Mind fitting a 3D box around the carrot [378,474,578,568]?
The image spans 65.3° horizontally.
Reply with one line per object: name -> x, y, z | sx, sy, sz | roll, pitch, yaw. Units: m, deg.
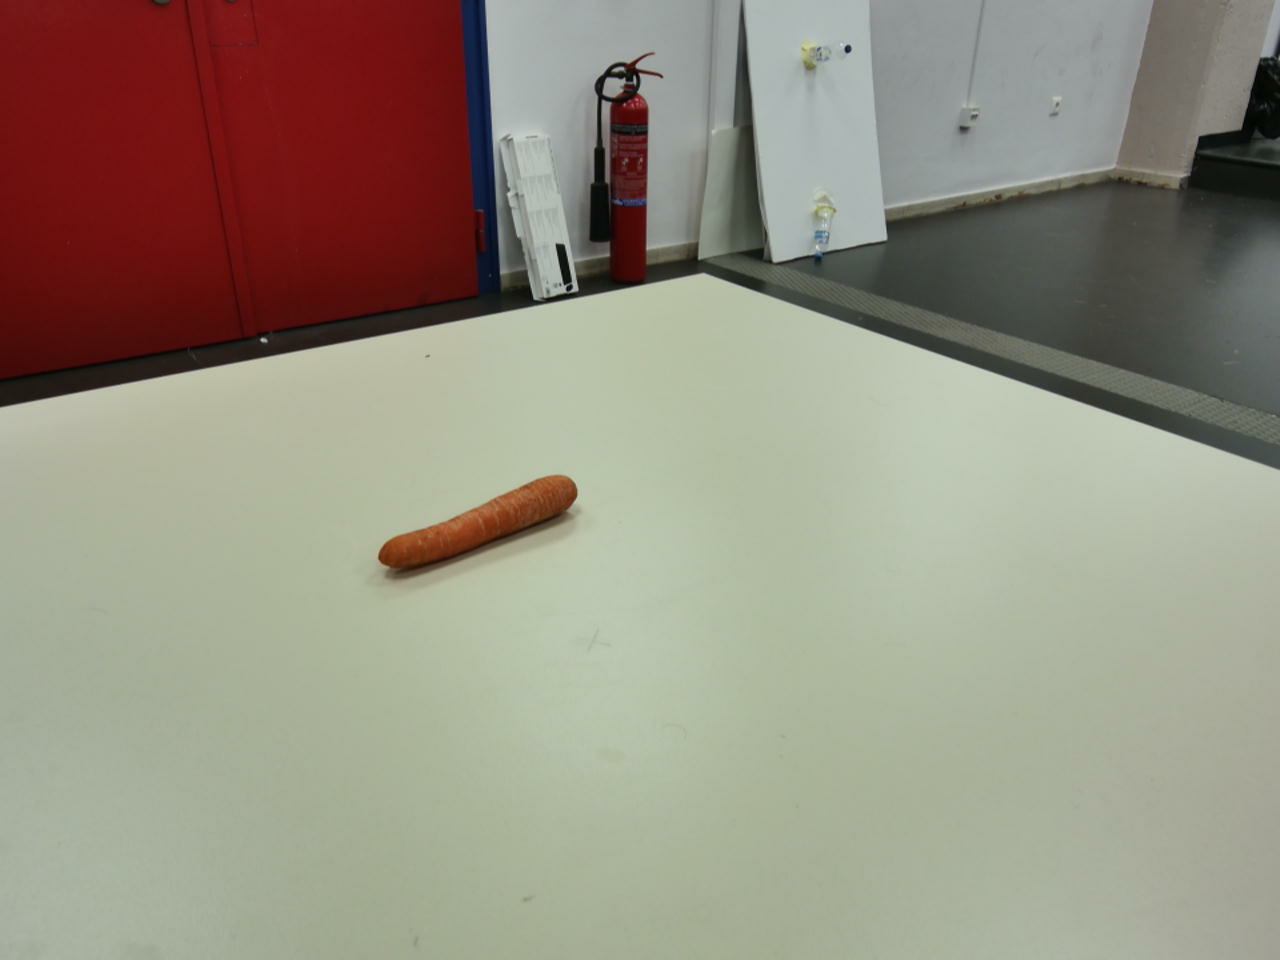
carrot -> -0.084, 0.022, 0.536 | 0.122, 0.023, 0.024 | -19, 32, -36
